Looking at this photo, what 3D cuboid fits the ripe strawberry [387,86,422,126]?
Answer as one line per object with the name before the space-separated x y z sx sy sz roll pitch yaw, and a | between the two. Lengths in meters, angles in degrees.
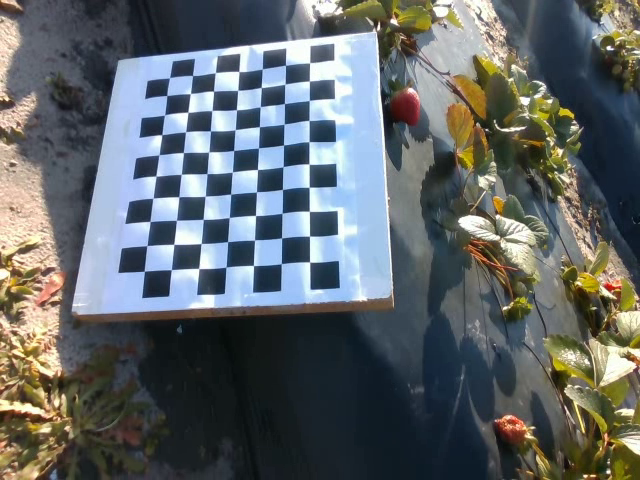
ripe strawberry | 0.106 -0.155 0.716 0.044 0.064 0.044 -19 -26 -1
